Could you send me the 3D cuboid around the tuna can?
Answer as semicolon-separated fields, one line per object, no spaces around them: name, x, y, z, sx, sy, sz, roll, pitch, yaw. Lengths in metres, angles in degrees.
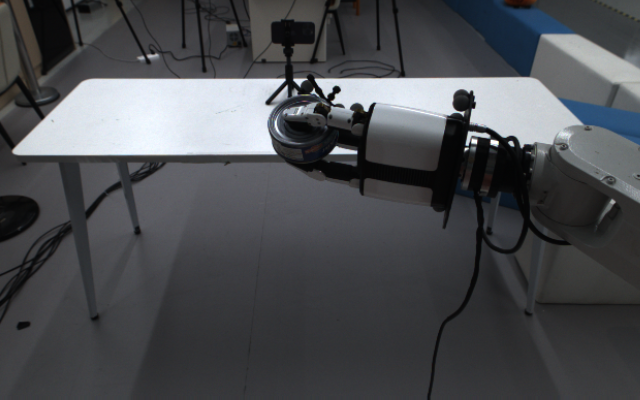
tuna can;-0.019;-0.090;0.600;0.085;0.034;0.085;-4;58;6
